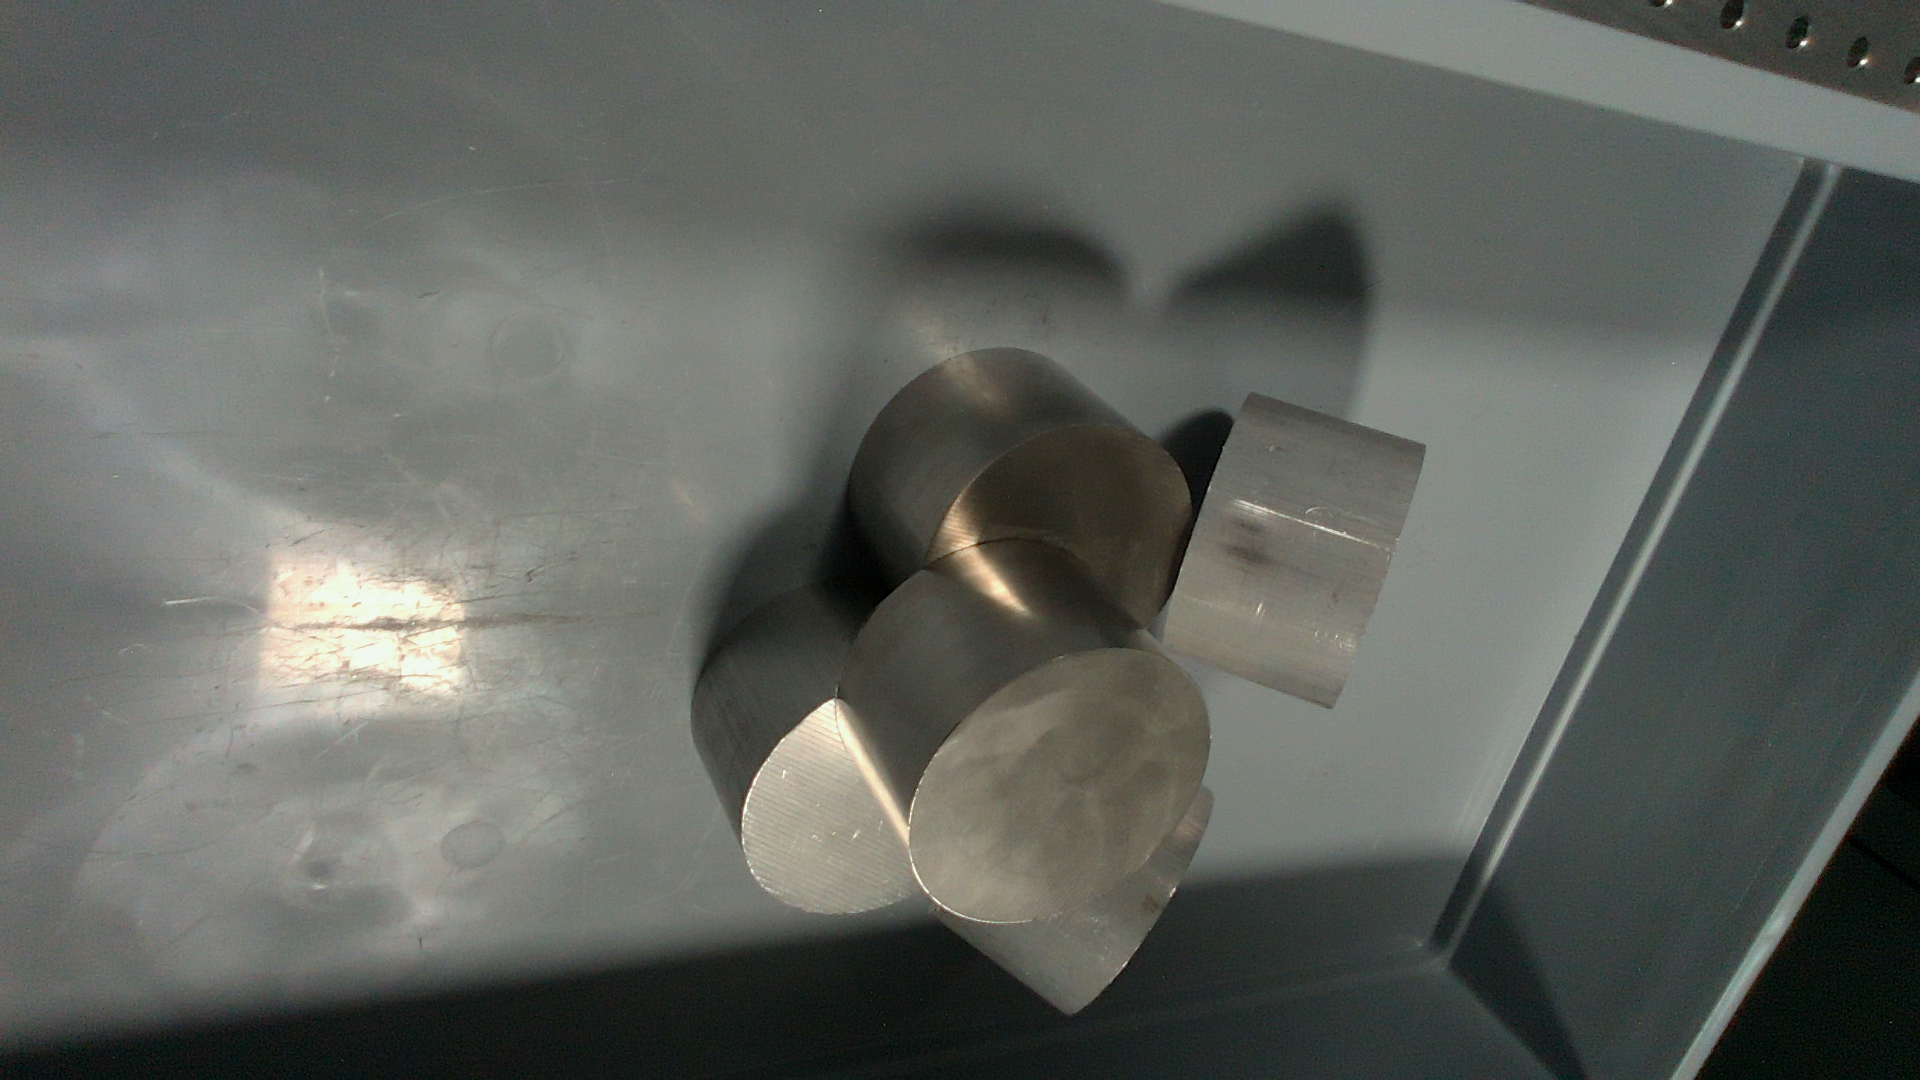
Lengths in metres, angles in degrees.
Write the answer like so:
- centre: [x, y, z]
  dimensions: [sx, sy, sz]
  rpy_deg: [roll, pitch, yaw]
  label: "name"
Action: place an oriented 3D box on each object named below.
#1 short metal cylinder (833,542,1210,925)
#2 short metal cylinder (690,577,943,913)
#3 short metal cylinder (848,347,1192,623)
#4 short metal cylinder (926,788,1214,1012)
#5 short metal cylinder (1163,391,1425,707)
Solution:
- centre: [0.015, 0.048, 0.343]
  dimensions: [0.080, 0.050, 0.080]
  rpy_deg: [-14, 124, -21]
  label: "short metal cylinder"
- centre: [-0.031, 0.058, 0.391]
  dimensions: [0.080, 0.050, 0.080]
  rpy_deg: [-14, 124, -21]
  label: "short metal cylinder"
- centre: [0.016, -0.006, 0.376]
  dimensions: [0.080, 0.050, 0.080]
  rpy_deg: [-14, 124, -21]
  label: "short metal cylinder"
- centre: [0.033, 0.094, 0.419]
  dimensions: [0.050, 0.080, 0.080]
  rpy_deg: [35, 101, 3]
  label: "short metal cylinder"
- centre: [0.096, 0.003, 0.399]
  dimensions: [0.080, 0.050, 0.080]
  rpy_deg: [19, 90, -76]
  label: "short metal cylinder"
